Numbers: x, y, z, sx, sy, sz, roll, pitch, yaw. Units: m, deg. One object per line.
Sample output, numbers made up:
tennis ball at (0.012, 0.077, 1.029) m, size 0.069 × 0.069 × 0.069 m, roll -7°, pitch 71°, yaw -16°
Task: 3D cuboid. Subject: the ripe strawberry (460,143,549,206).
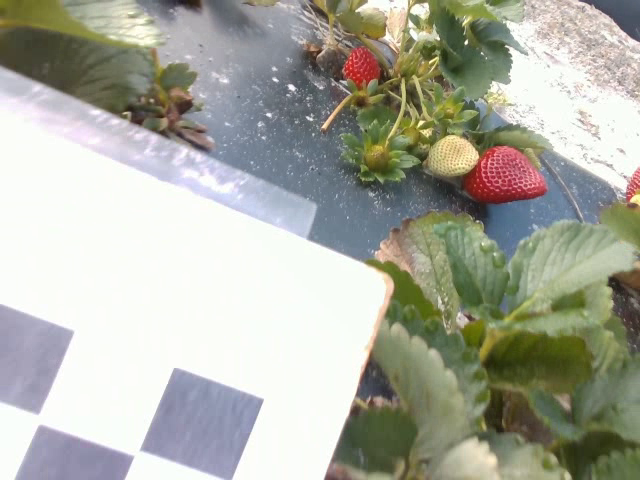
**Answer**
ripe strawberry at (0.136, -0.043, 0.438) m, size 0.051 × 0.048 × 0.055 m, roll -34°, pitch 33°, yaw -13°
